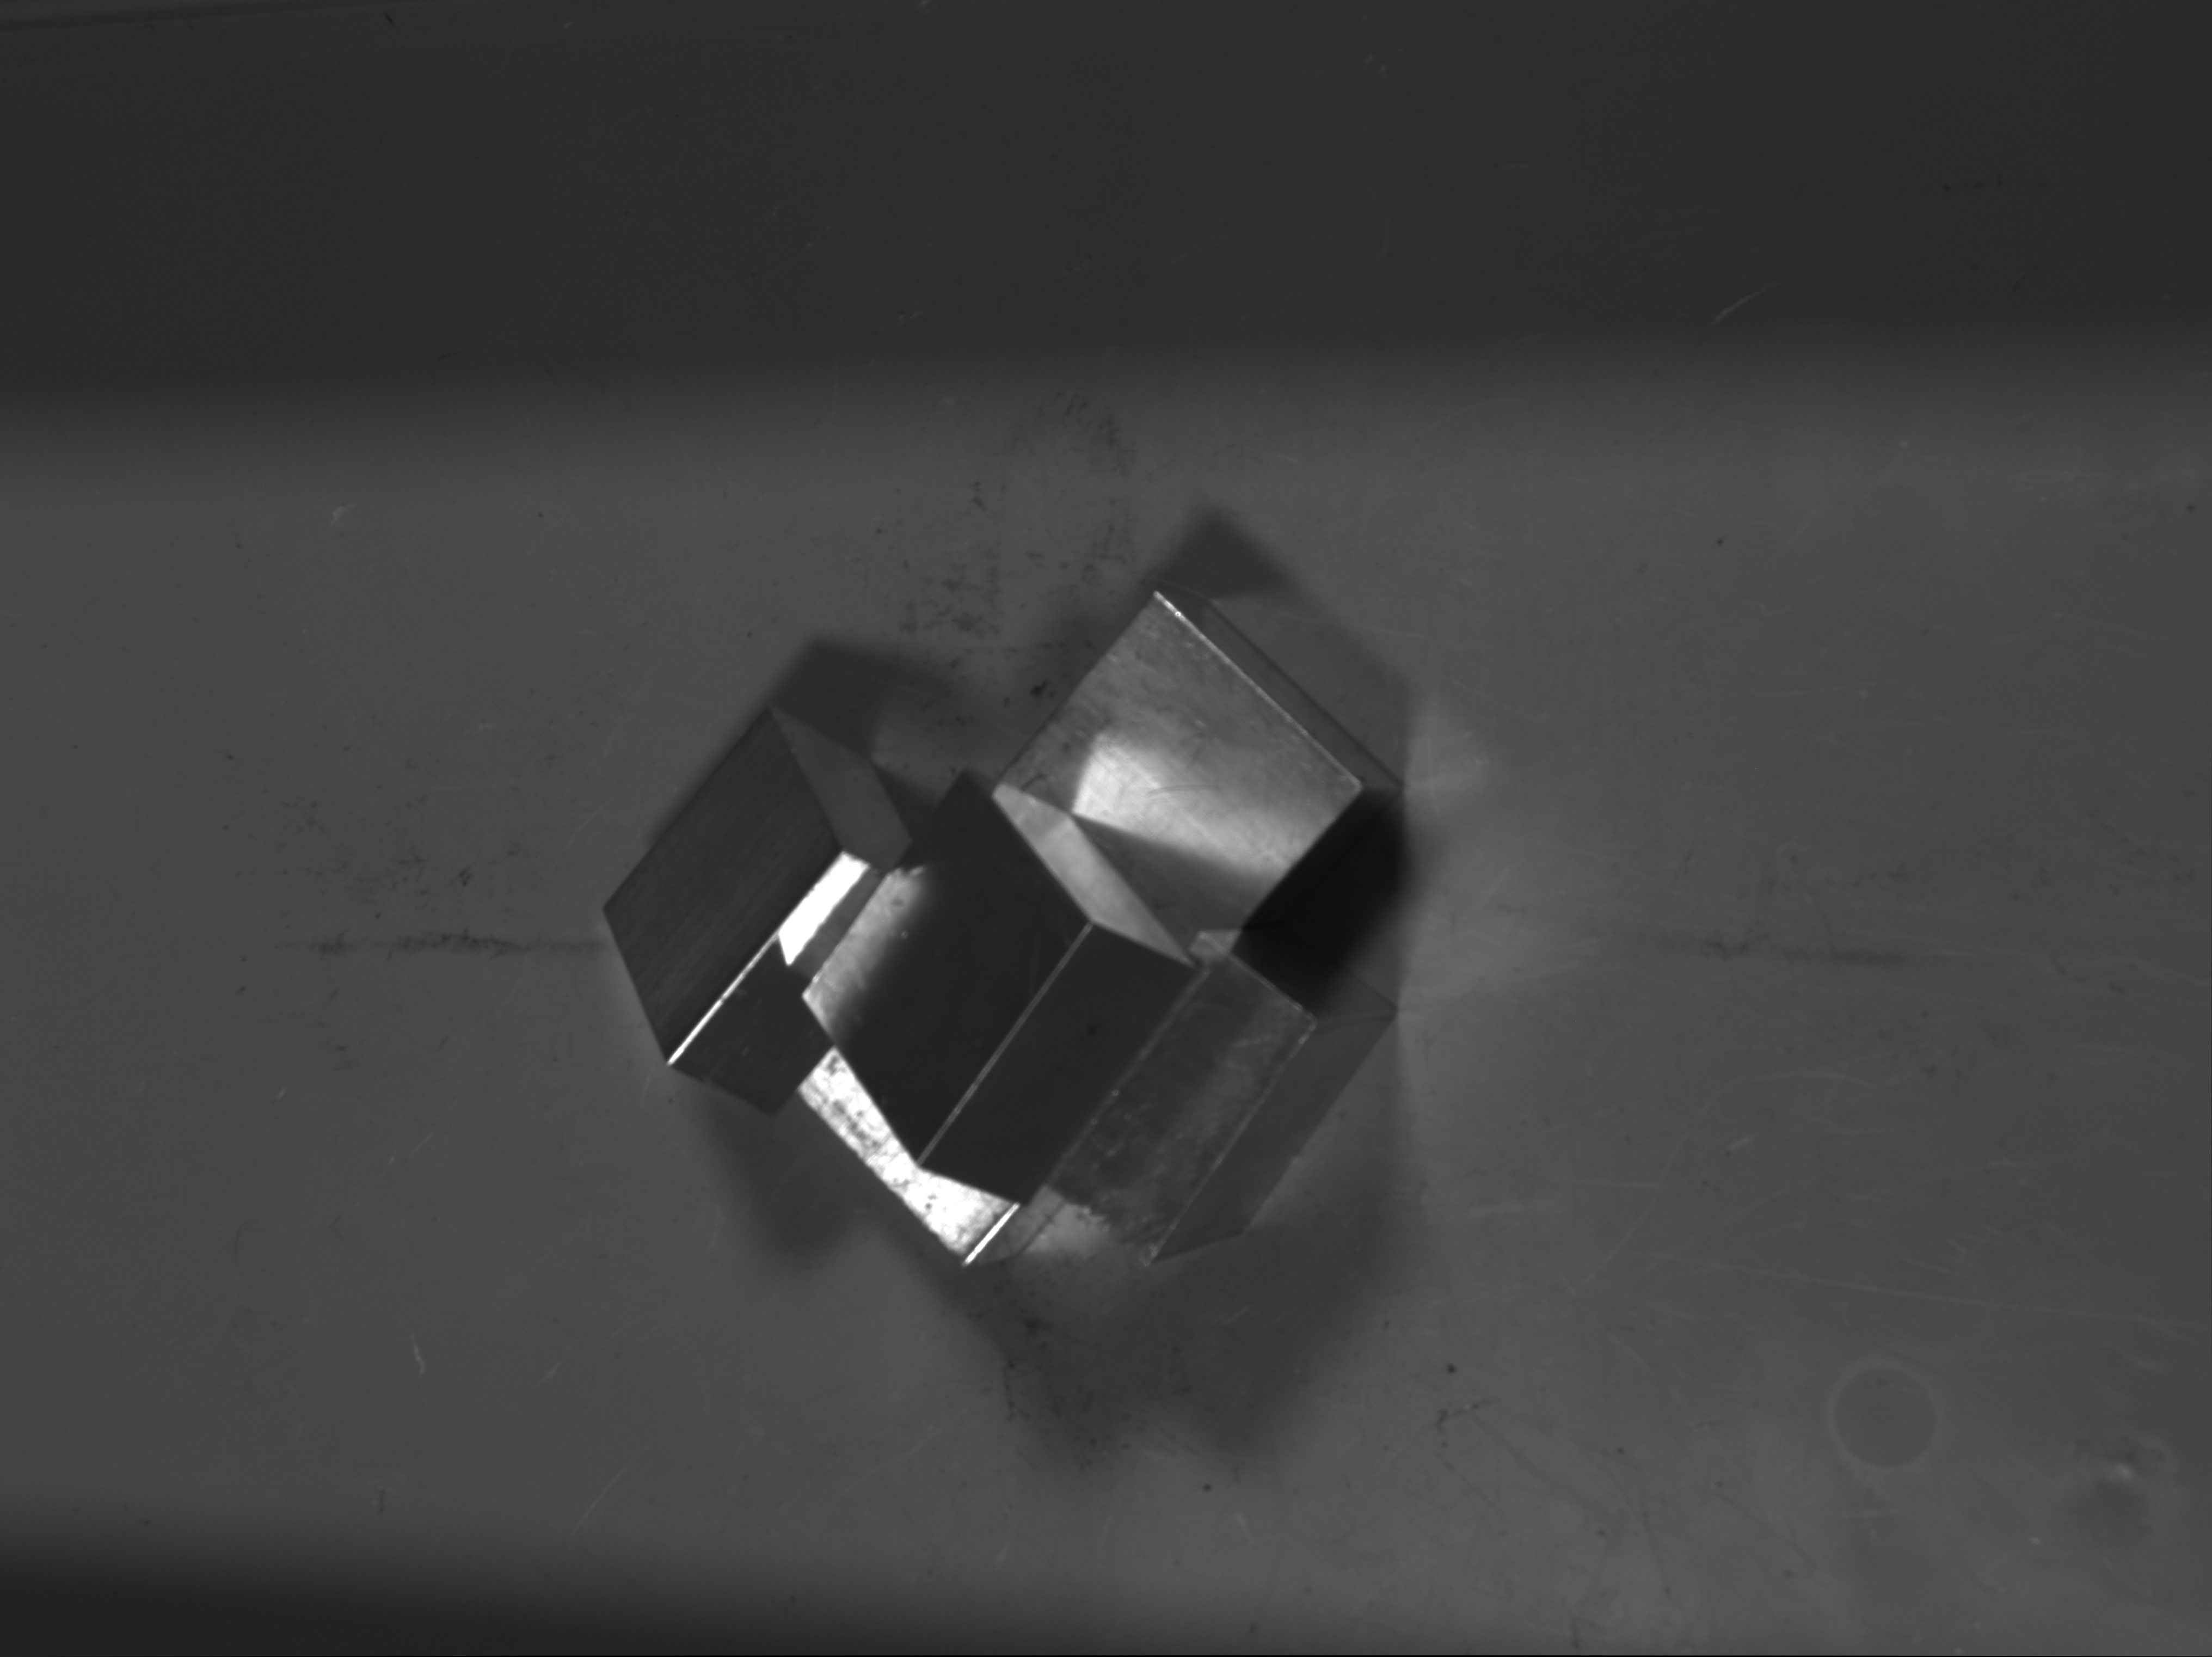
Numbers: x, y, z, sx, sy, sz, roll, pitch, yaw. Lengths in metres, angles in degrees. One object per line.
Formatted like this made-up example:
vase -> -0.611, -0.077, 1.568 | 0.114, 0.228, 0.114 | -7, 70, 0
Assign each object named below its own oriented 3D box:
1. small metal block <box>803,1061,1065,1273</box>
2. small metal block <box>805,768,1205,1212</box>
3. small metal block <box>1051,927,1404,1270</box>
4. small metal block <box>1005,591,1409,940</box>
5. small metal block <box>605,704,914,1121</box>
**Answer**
small metal block -> -0.021, 0.042, 0.650 | 0.050, 0.025, 0.050 | 44, 103, 15
small metal block -> -0.018, 0.027, 0.610 | 0.050, 0.025, 0.050 | -54, 40, 12
small metal block -> 0.020, 0.045, 0.622 | 0.025, 0.050, 0.050 | 37, 102, 16
small metal block -> 0.015, -0.005, 0.638 | 0.050, 0.025, 0.050 | 44, 103, 15
small metal block -> -0.059, 0.015, 0.651 | 0.050, 0.025, 0.050 | -50, 36, 13
